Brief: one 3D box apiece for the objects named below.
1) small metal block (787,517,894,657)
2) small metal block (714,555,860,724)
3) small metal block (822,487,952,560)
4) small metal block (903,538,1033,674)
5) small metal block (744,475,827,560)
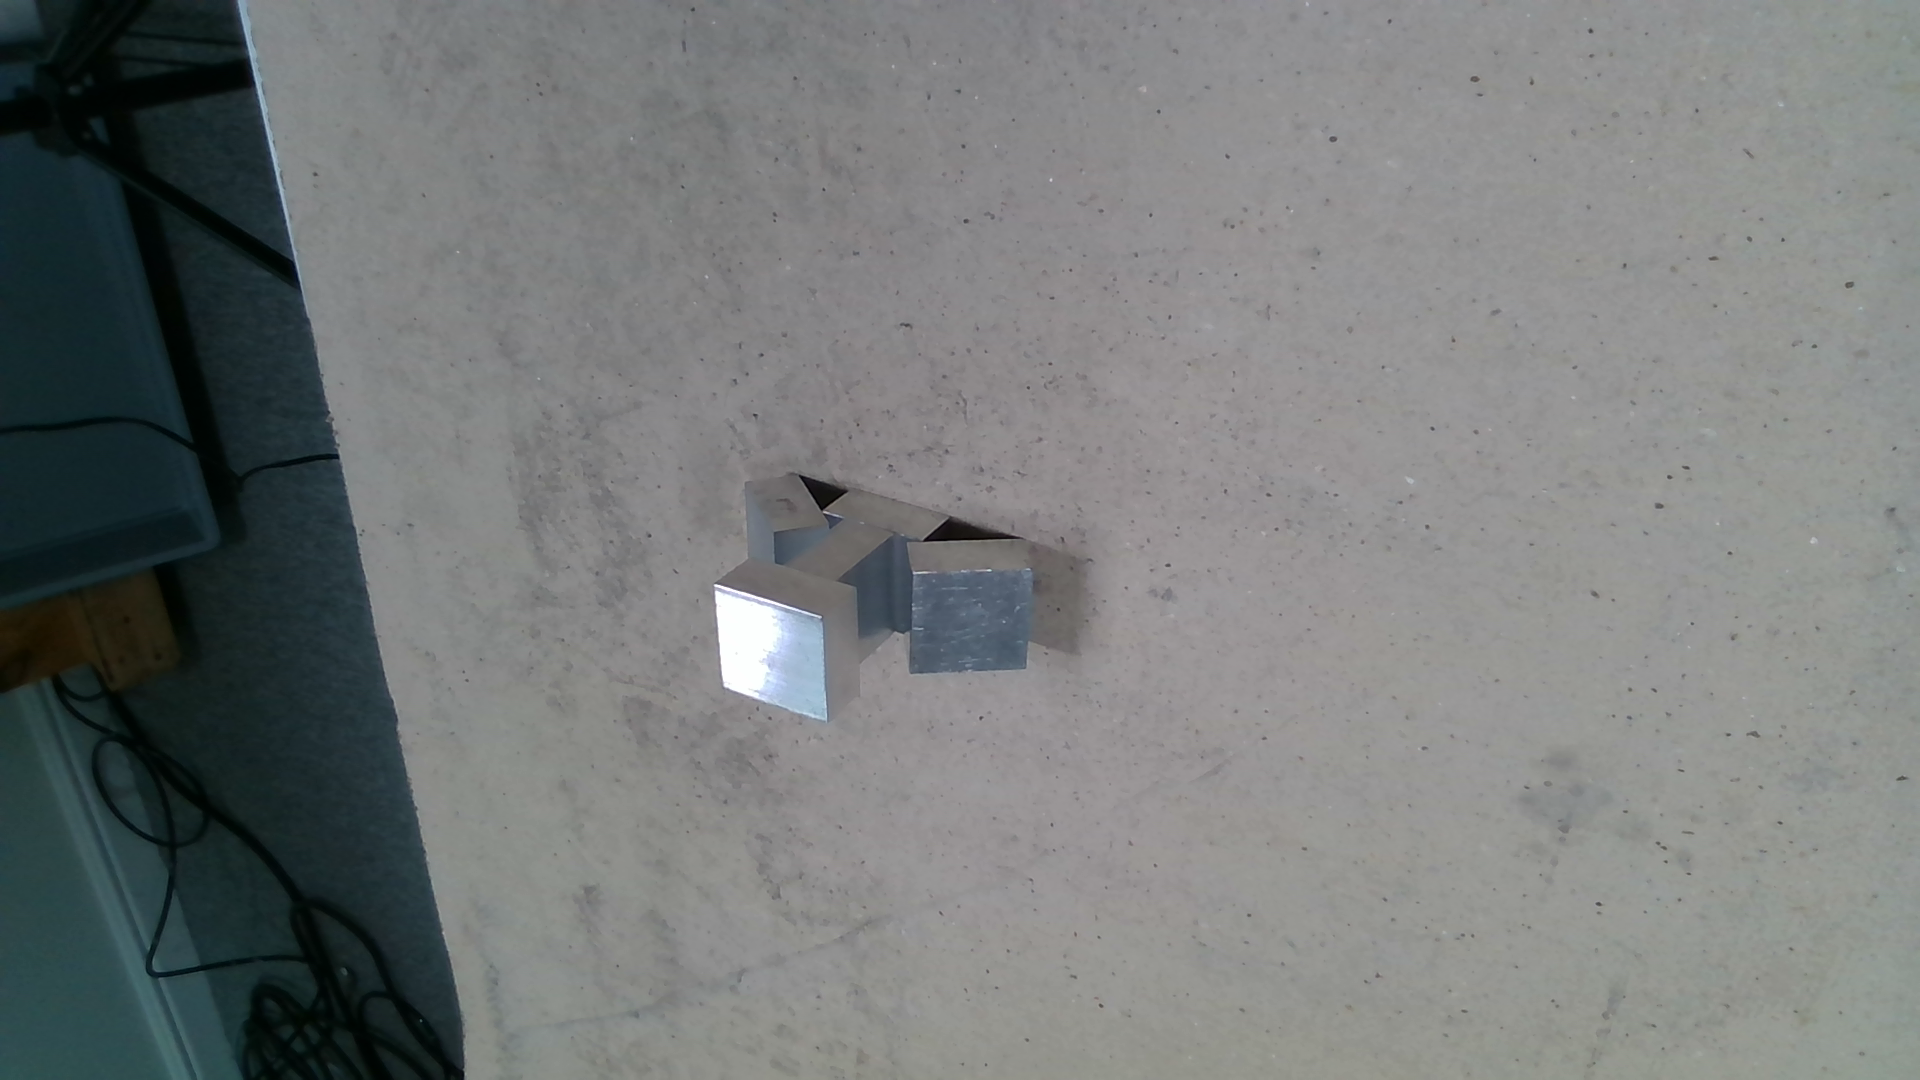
[{"bbox_3d":[-0.051,0.026,0.577,0.025,0.050,0.050,17,123,24],"label":"small metal block"},{"bbox_3d":[-0.068,0.039,0.546,0.050,0.025,0.050,15,122,24],"label":"small metal block"},{"bbox_3d":[-0.032,0.010,0.606,0.050,0.025,0.050,16,123,23],"label":"small metal block"},{"bbox_3d":[0.002,0.027,0.578,0.050,0.025,0.050,-2,120,-8],"label":"small metal block"},{"bbox_3d":[-0.077,0.005,0.613,0.050,0.025,0.050,-127,34,-54],"label":"small metal block"}]
